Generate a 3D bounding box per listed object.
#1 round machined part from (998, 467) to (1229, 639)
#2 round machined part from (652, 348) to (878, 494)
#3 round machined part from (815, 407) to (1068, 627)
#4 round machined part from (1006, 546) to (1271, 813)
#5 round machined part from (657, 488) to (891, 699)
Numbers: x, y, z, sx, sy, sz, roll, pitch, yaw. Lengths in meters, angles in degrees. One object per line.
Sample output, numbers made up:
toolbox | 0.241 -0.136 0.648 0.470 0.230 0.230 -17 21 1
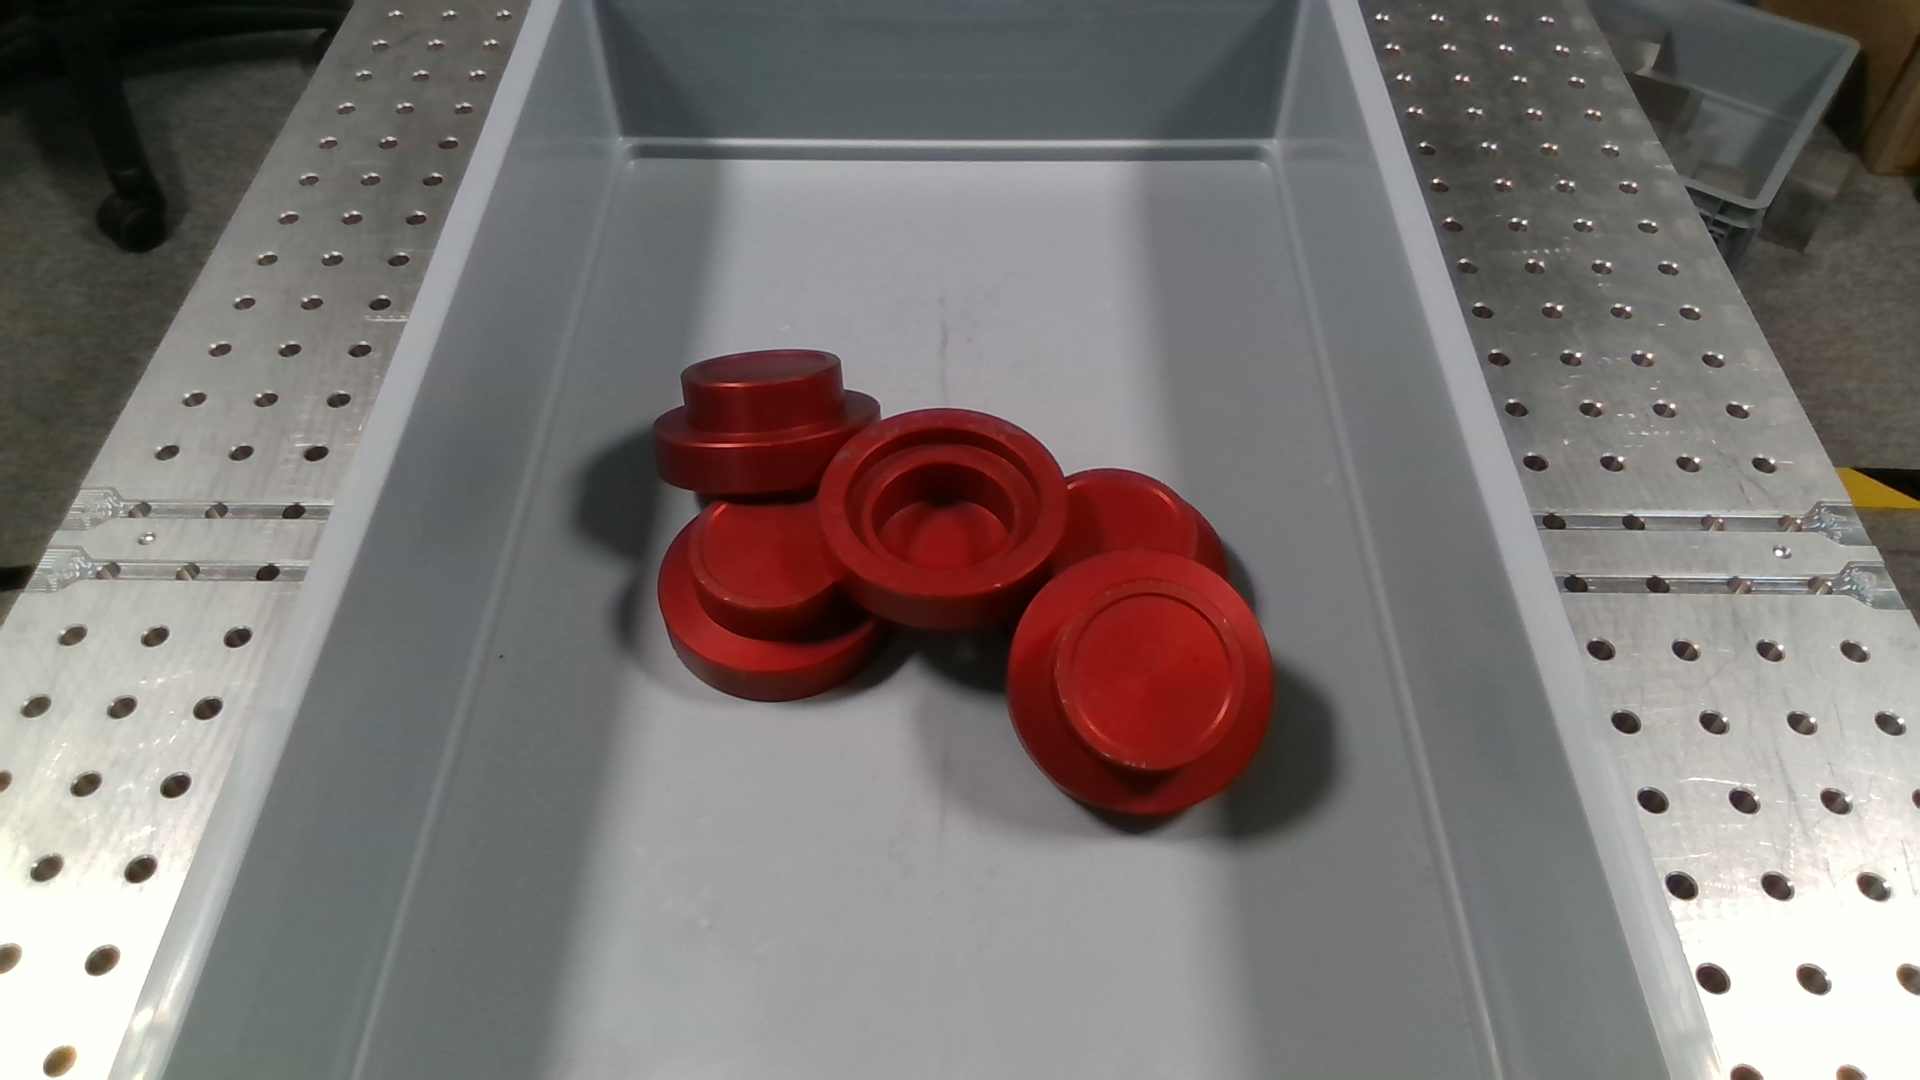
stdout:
round machined part | 0.061 0.008 0.567 0.098 0.042 0.098 0 50 0
round machined part | -0.084 -0.055 0.593 0.098 0.042 0.098 -3 20 1
round machined part | -0.007 -0.004 0.549 0.098 0.042 0.098 0 50 0
round machined part | 0.066 0.050 0.505 0.098 0.042 0.098 0 81 -3
round machined part | -0.075 0.013 0.563 0.098 0.042 0.098 0 50 0
